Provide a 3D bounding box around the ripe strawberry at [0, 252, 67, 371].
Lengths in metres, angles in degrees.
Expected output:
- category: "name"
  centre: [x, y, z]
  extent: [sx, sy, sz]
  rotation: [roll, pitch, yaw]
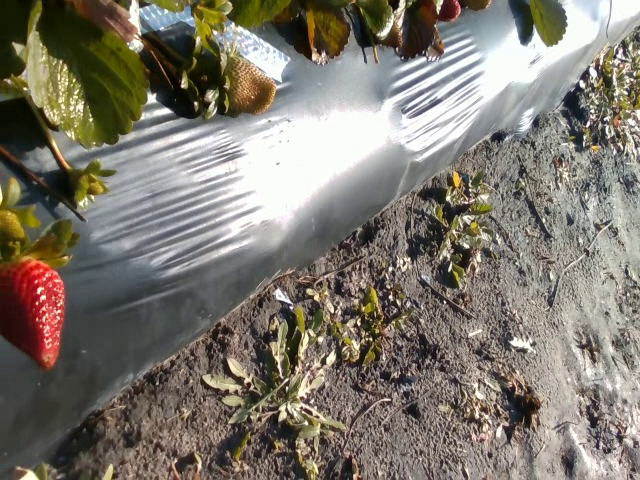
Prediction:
- category: "ripe strawberry"
  centre: [-0.136, 0.035, 0.283]
  extent: [0.042, 0.059, 0.042]
  rotation: [-23, -9, 32]
